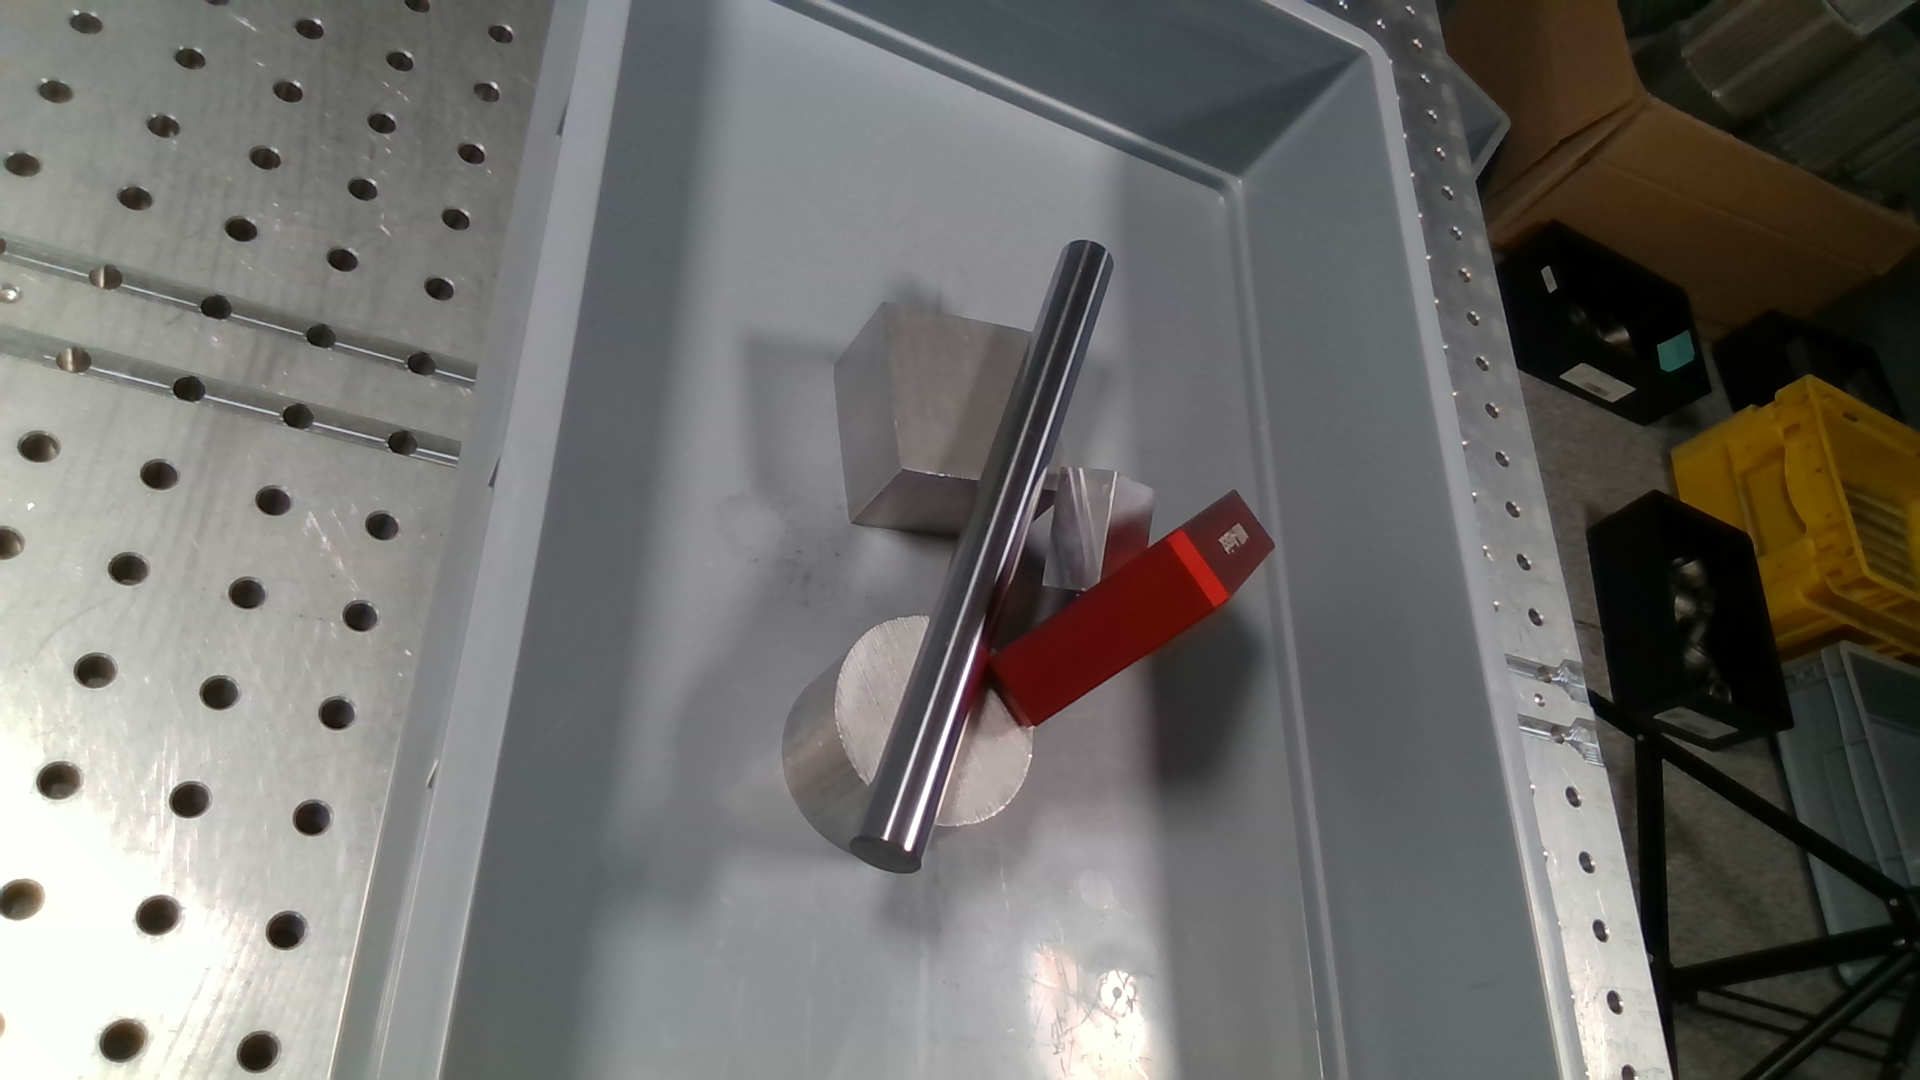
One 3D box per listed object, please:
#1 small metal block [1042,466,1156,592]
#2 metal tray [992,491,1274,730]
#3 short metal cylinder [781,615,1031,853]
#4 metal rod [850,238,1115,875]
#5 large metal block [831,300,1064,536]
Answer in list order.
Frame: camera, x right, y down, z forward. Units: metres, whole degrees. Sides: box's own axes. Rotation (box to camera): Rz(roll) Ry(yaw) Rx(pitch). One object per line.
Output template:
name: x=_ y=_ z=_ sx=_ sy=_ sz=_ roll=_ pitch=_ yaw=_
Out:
small metal block: x=0.059 y=-0.001 z=0.578 sx=0.050 sy=0.025 sz=0.050 roll=16 pitch=83 yaw=-63
metal tray: x=0.071 y=0.024 z=0.542 sx=0.030 sy=0.090 sz=0.130 roll=55 pitch=21 yaw=4
short metal cylinder: x=-0.020 y=0.075 z=0.516 sx=0.080 sy=0.050 sz=0.080 roll=14 pitch=59 yaw=-25
metal rod: x=0.017 y=-0.012 z=0.536 sx=0.025 sy=0.025 sz=0.299 roll=30 pitch=53 yaw=-15
large metal block: x=-0.005 y=-0.049 z=0.592 sx=0.080 sy=0.050 sz=0.080 roll=7 pitch=62 yaw=-29
